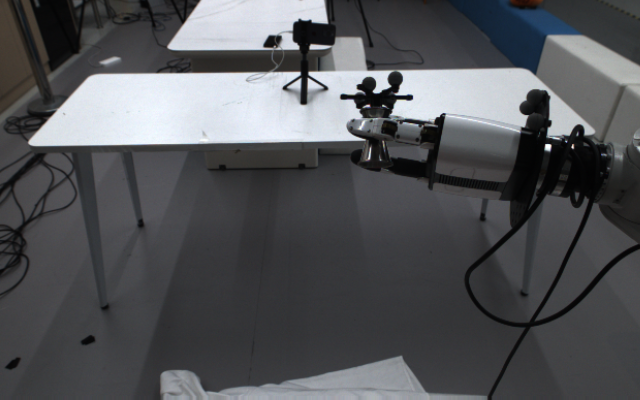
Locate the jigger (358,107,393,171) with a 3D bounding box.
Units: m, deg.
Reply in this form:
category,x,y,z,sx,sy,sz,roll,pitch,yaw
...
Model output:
category,x,y,z,sx,sy,sz,roll,pitch,yaw
jigger,0.067,-0.077,0.598,0.043,0.071,0.043,2,-6,0
